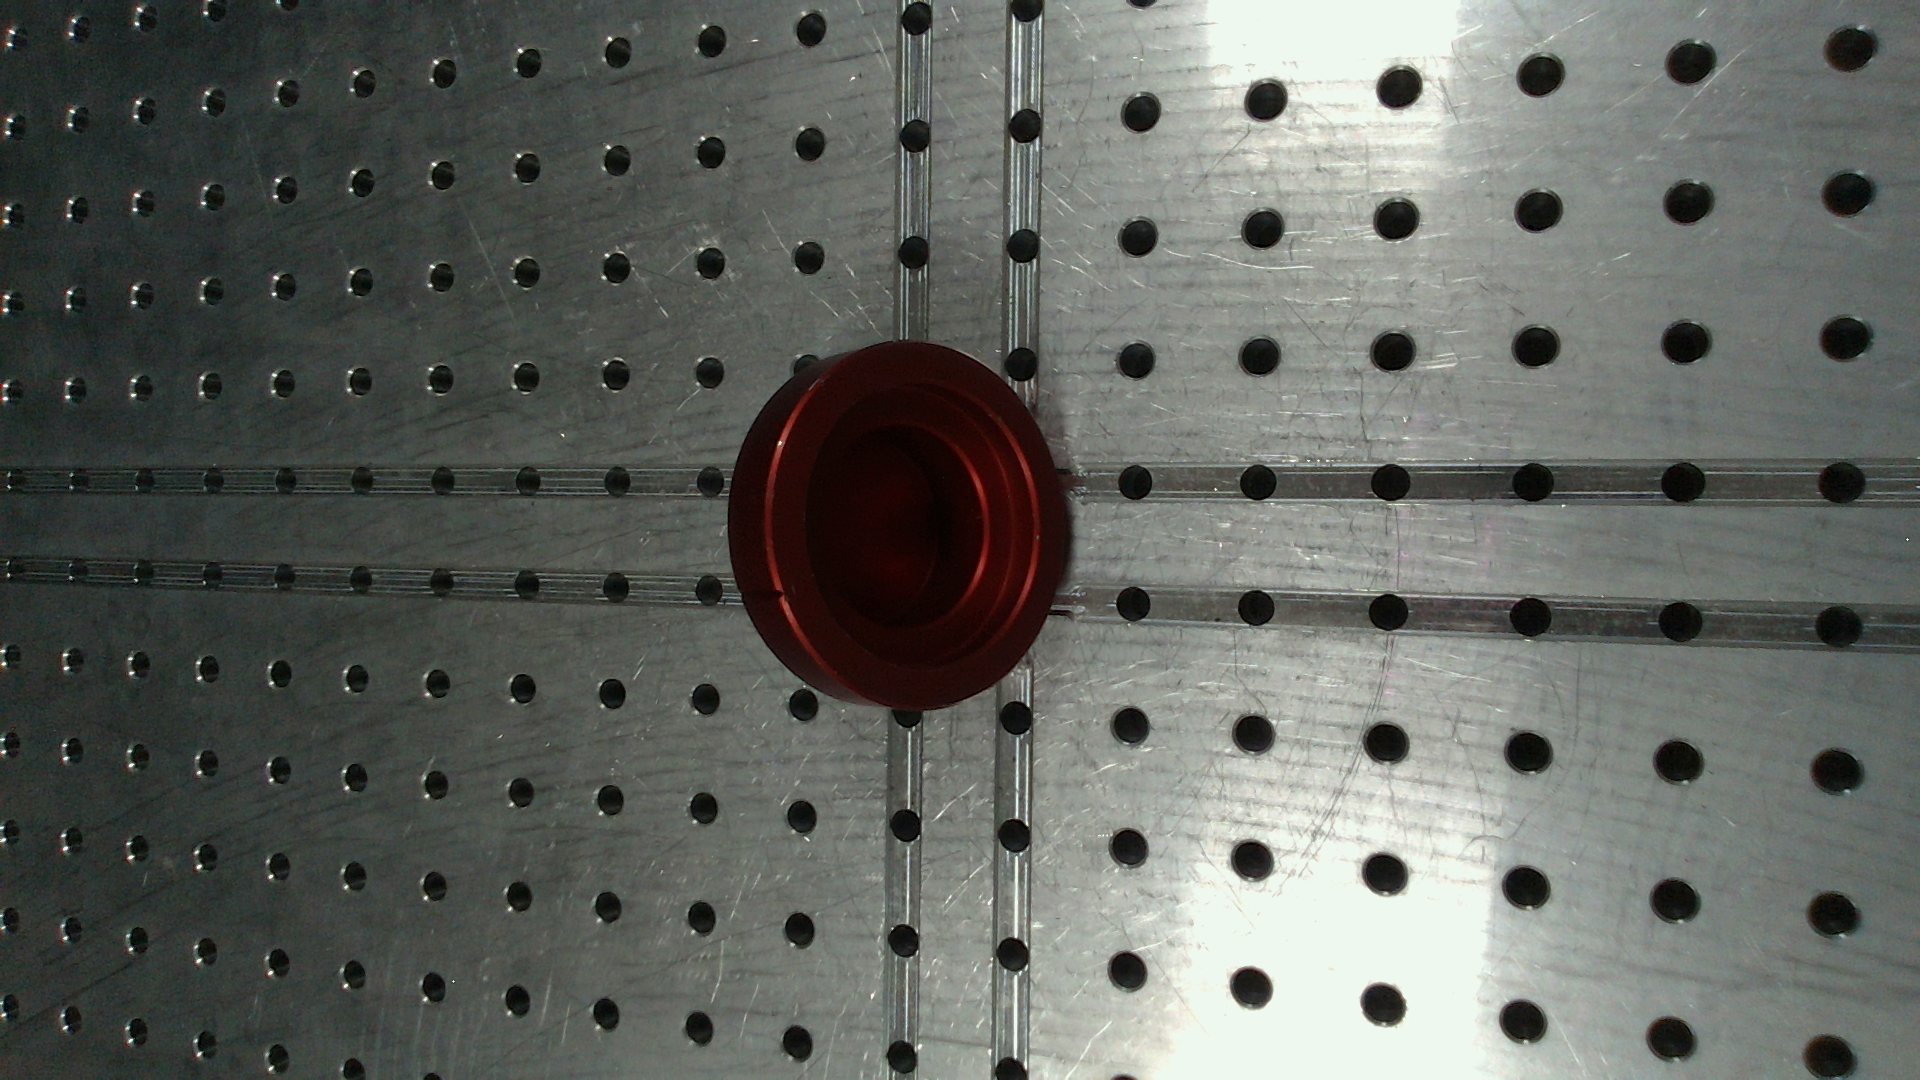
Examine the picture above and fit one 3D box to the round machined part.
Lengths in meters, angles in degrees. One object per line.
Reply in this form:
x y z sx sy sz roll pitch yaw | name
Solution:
-0.021 -0.004 0.377 0.042 0.098 0.098 -4 89 52 | round machined part
